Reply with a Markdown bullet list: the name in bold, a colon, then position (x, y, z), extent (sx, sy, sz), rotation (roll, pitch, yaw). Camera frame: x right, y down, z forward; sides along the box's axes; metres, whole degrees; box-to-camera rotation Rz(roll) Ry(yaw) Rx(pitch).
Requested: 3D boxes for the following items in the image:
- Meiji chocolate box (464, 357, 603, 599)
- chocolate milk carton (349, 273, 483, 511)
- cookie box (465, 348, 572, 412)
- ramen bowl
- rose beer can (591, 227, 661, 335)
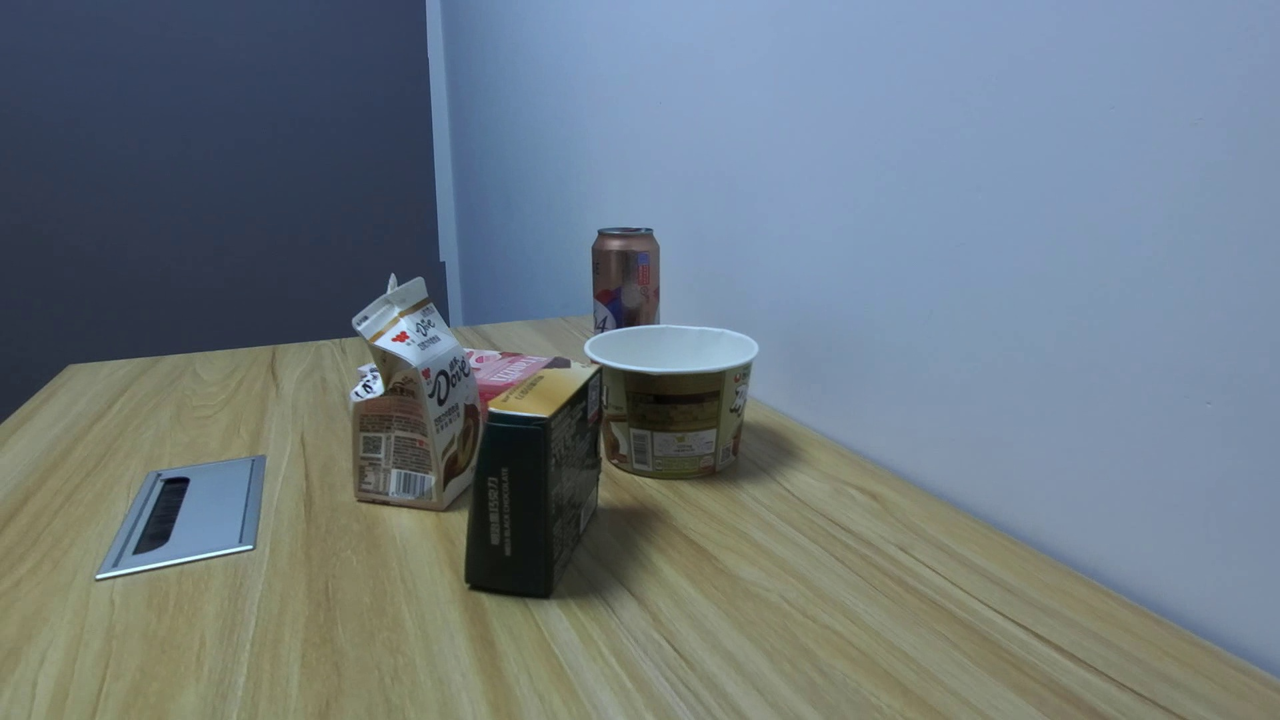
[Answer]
- **Meiji chocolate box**: position (-0.059, 0.066, 0.431), extent (0.051, 0.117, 0.117), rotation (10, -161, 8)
- **chocolate milk carton**: position (-0.166, 0.019, 0.512), extent (0.073, 0.155, 0.076), rotation (2, -162, 13)
- **cookie box**: position (-0.109, 0.035, 0.647), extent (0.105, 0.049, 0.187), rotation (6, -172, -11)
- **ramen bowl**: position (0.026, 0.032, 0.574), extent (0.140, 0.095, 0.140), rotation (-1, -164, 1)
- **rose beer can**: position (-0.012, -0.043, 0.704), extent (0.068, 0.169, 0.068), rotation (-1, -164, 1)
